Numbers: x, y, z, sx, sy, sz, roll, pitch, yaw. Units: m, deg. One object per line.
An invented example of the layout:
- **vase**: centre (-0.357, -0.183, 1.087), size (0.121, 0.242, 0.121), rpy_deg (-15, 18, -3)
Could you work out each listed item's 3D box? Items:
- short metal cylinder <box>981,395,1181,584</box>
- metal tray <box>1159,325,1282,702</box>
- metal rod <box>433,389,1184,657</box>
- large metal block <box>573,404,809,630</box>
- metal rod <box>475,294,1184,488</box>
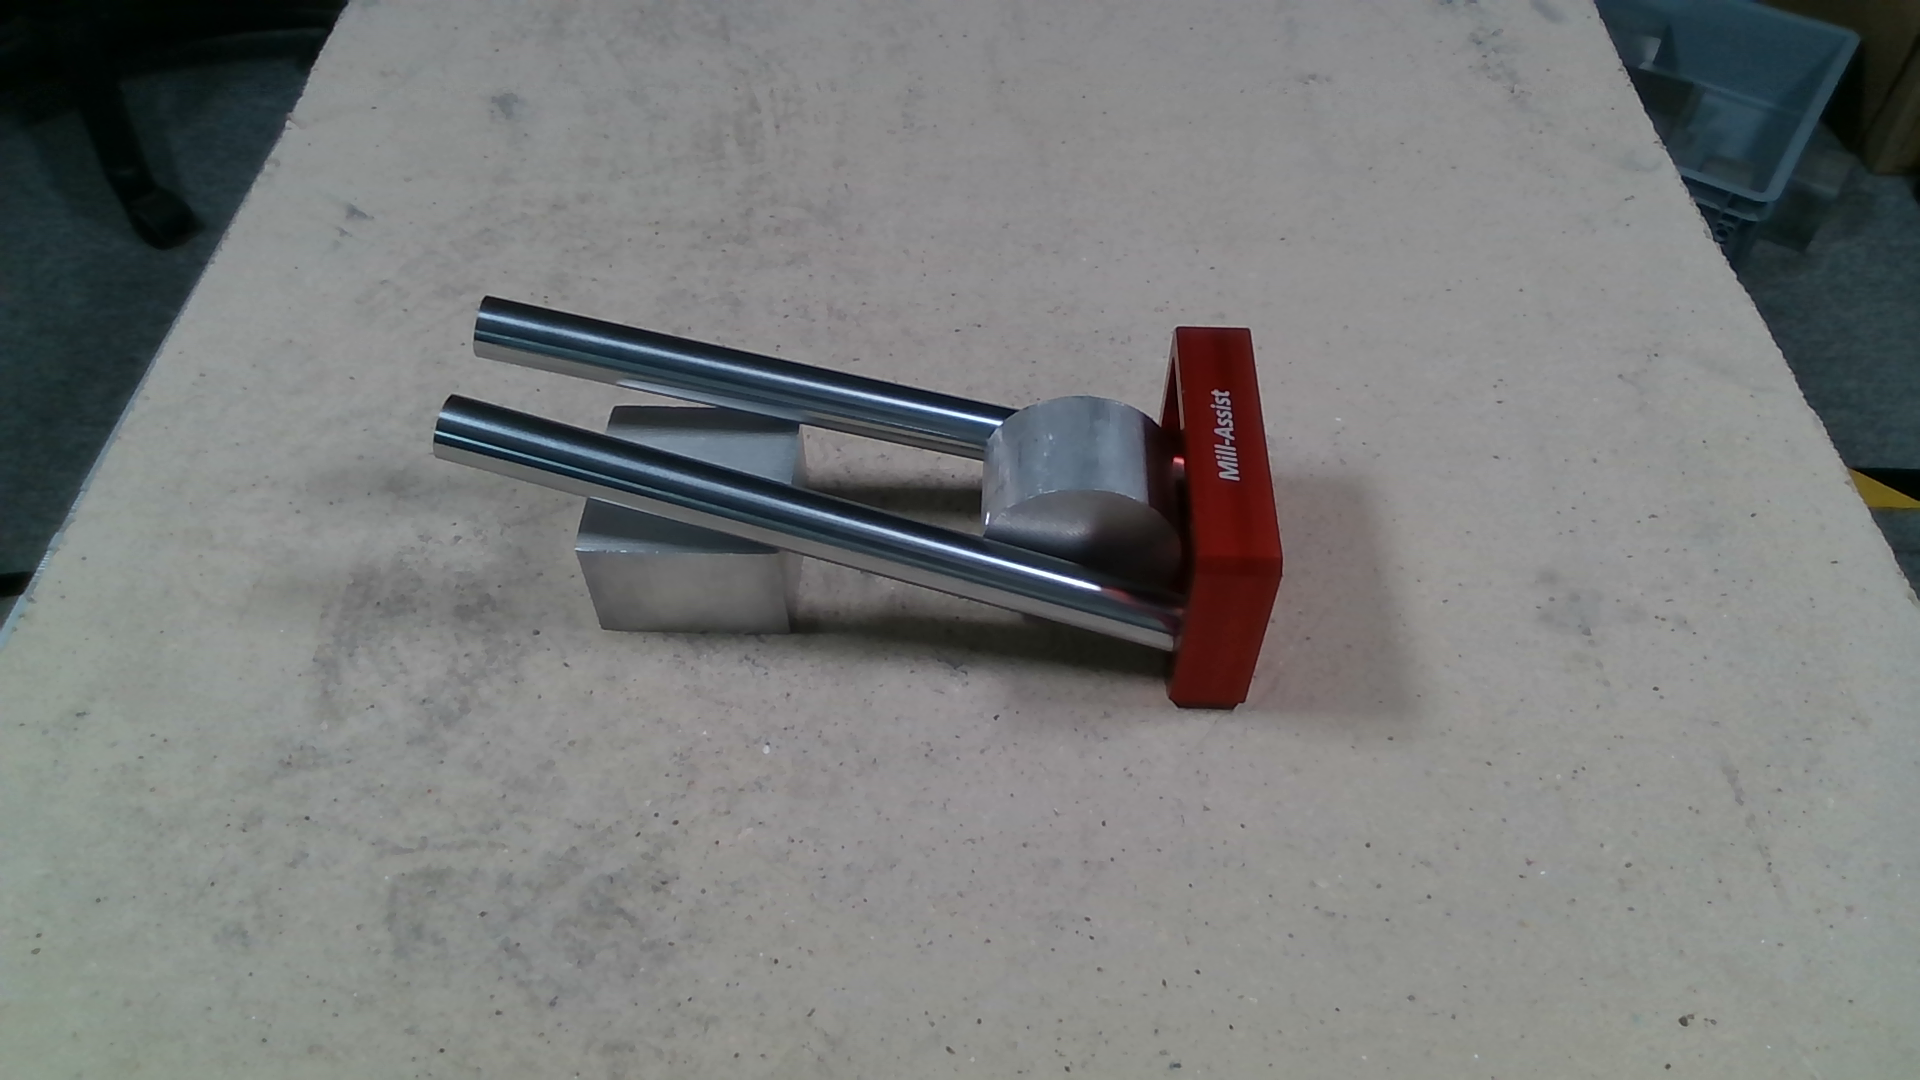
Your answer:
- **short metal cylinder**: centre (0.048, -0.013, 0.563), size (0.080, 0.080, 0.050), rpy_deg (1, 51, 1)
- **metal tray**: centre (0.100, -0.012, 0.554), size (0.030, 0.090, 0.130), rpy_deg (2, 50, 1)
- **metal rod**: centre (-0.048, -0.004, 0.529), size (0.300, 0.025, 0.025), rpy_deg (16, 50, -6)
- **large metal block**: centre (-0.109, -0.010, 0.577), size (0.080, 0.050, 0.080), rpy_deg (1, 50, 1)
- **metal rod**: centre (-0.045, -0.057, 0.575), size (0.300, 0.025, 0.025), rpy_deg (11, 49, -10)
